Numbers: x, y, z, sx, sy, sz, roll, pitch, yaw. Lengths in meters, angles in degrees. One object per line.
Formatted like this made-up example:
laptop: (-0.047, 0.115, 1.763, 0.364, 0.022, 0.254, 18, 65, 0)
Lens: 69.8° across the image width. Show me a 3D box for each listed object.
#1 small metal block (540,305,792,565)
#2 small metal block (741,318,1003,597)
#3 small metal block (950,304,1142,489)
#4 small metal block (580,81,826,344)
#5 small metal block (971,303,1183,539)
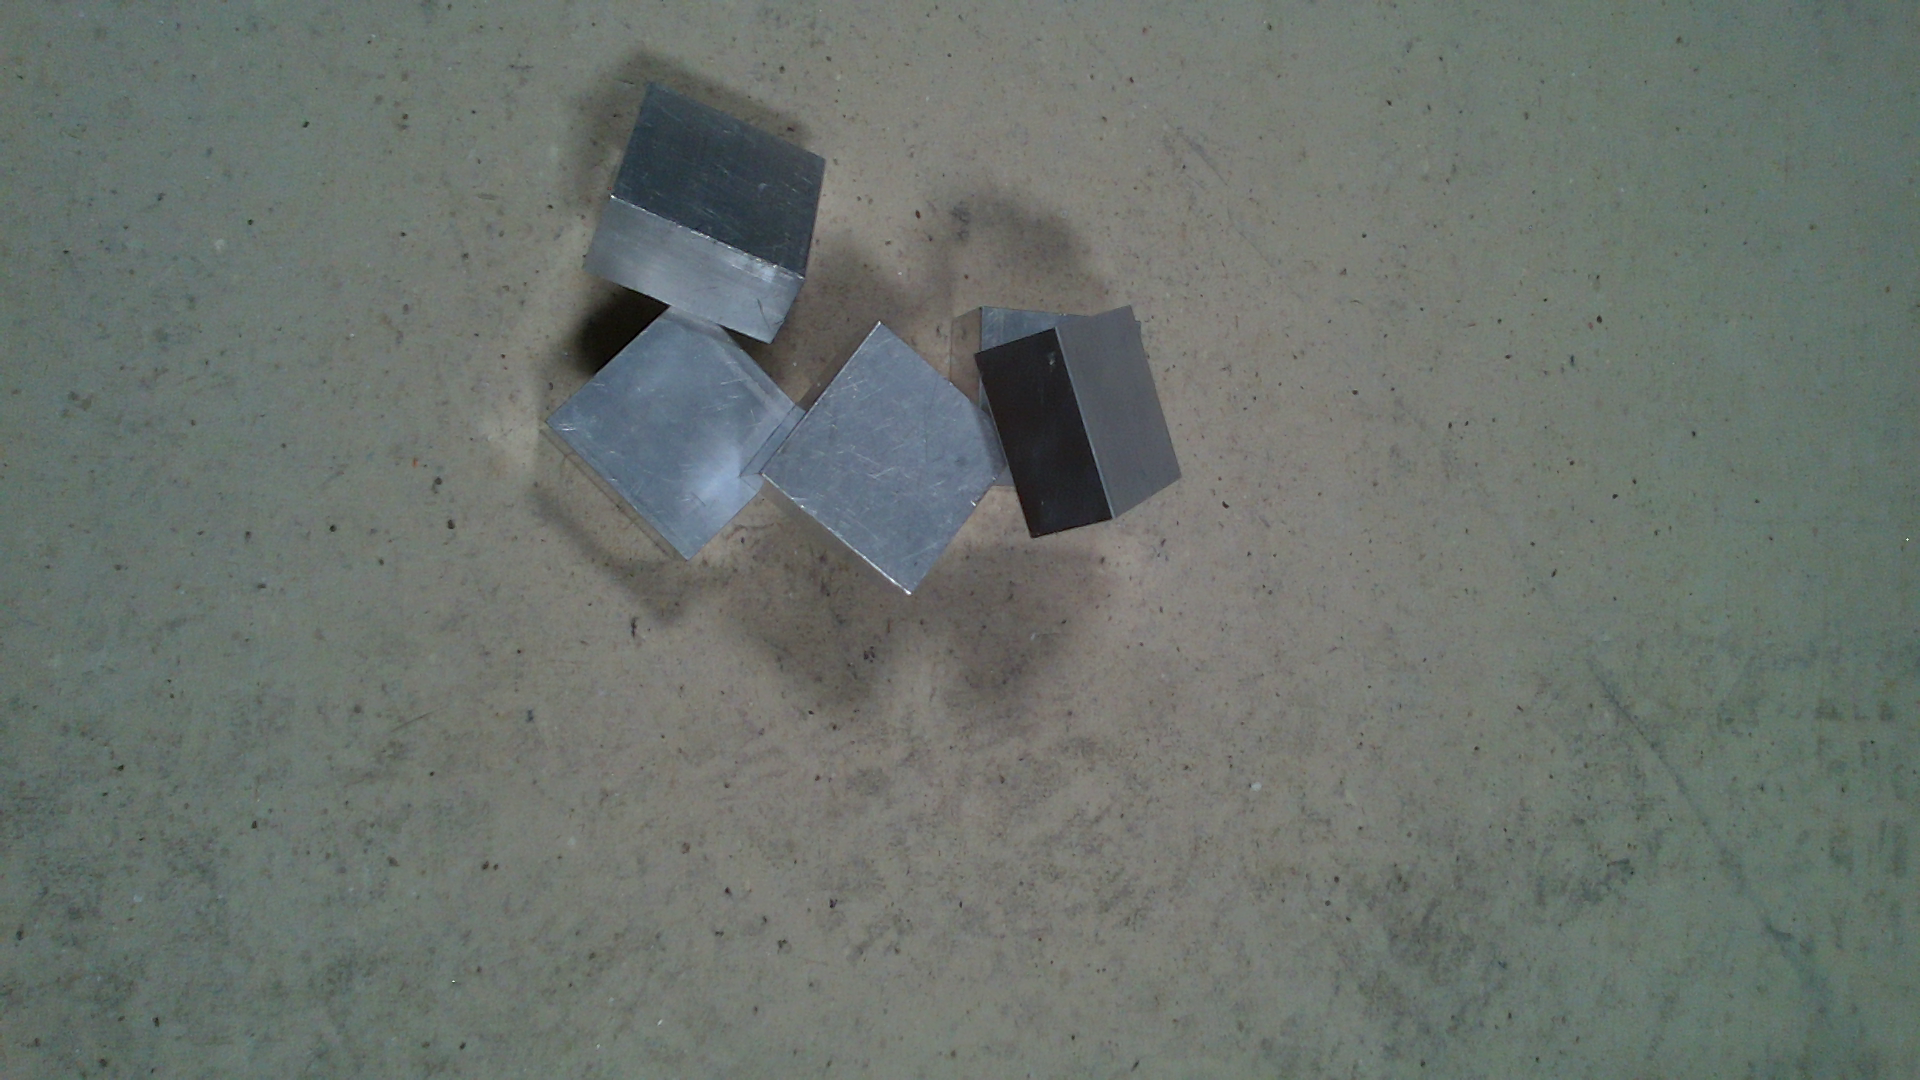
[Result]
small metal block: (-0.075, -0.029, 0.366, 0.050, 0.025, 0.050, -47, 104, -14)
small metal block: (-0.020, -0.021, 0.358, 0.050, 0.025, 0.050, 39, 78, -16)
small metal block: (0.024, -0.040, 0.402, 0.050, 0.025, 0.050, 2, 89, -20)
small metal block: (-0.065, -0.085, 0.357, 0.050, 0.025, 0.050, 20, 47, -19)
small metal block: (0.032, -0.033, 0.366, 0.050, 0.025, 0.050, -28, 102, -58)
